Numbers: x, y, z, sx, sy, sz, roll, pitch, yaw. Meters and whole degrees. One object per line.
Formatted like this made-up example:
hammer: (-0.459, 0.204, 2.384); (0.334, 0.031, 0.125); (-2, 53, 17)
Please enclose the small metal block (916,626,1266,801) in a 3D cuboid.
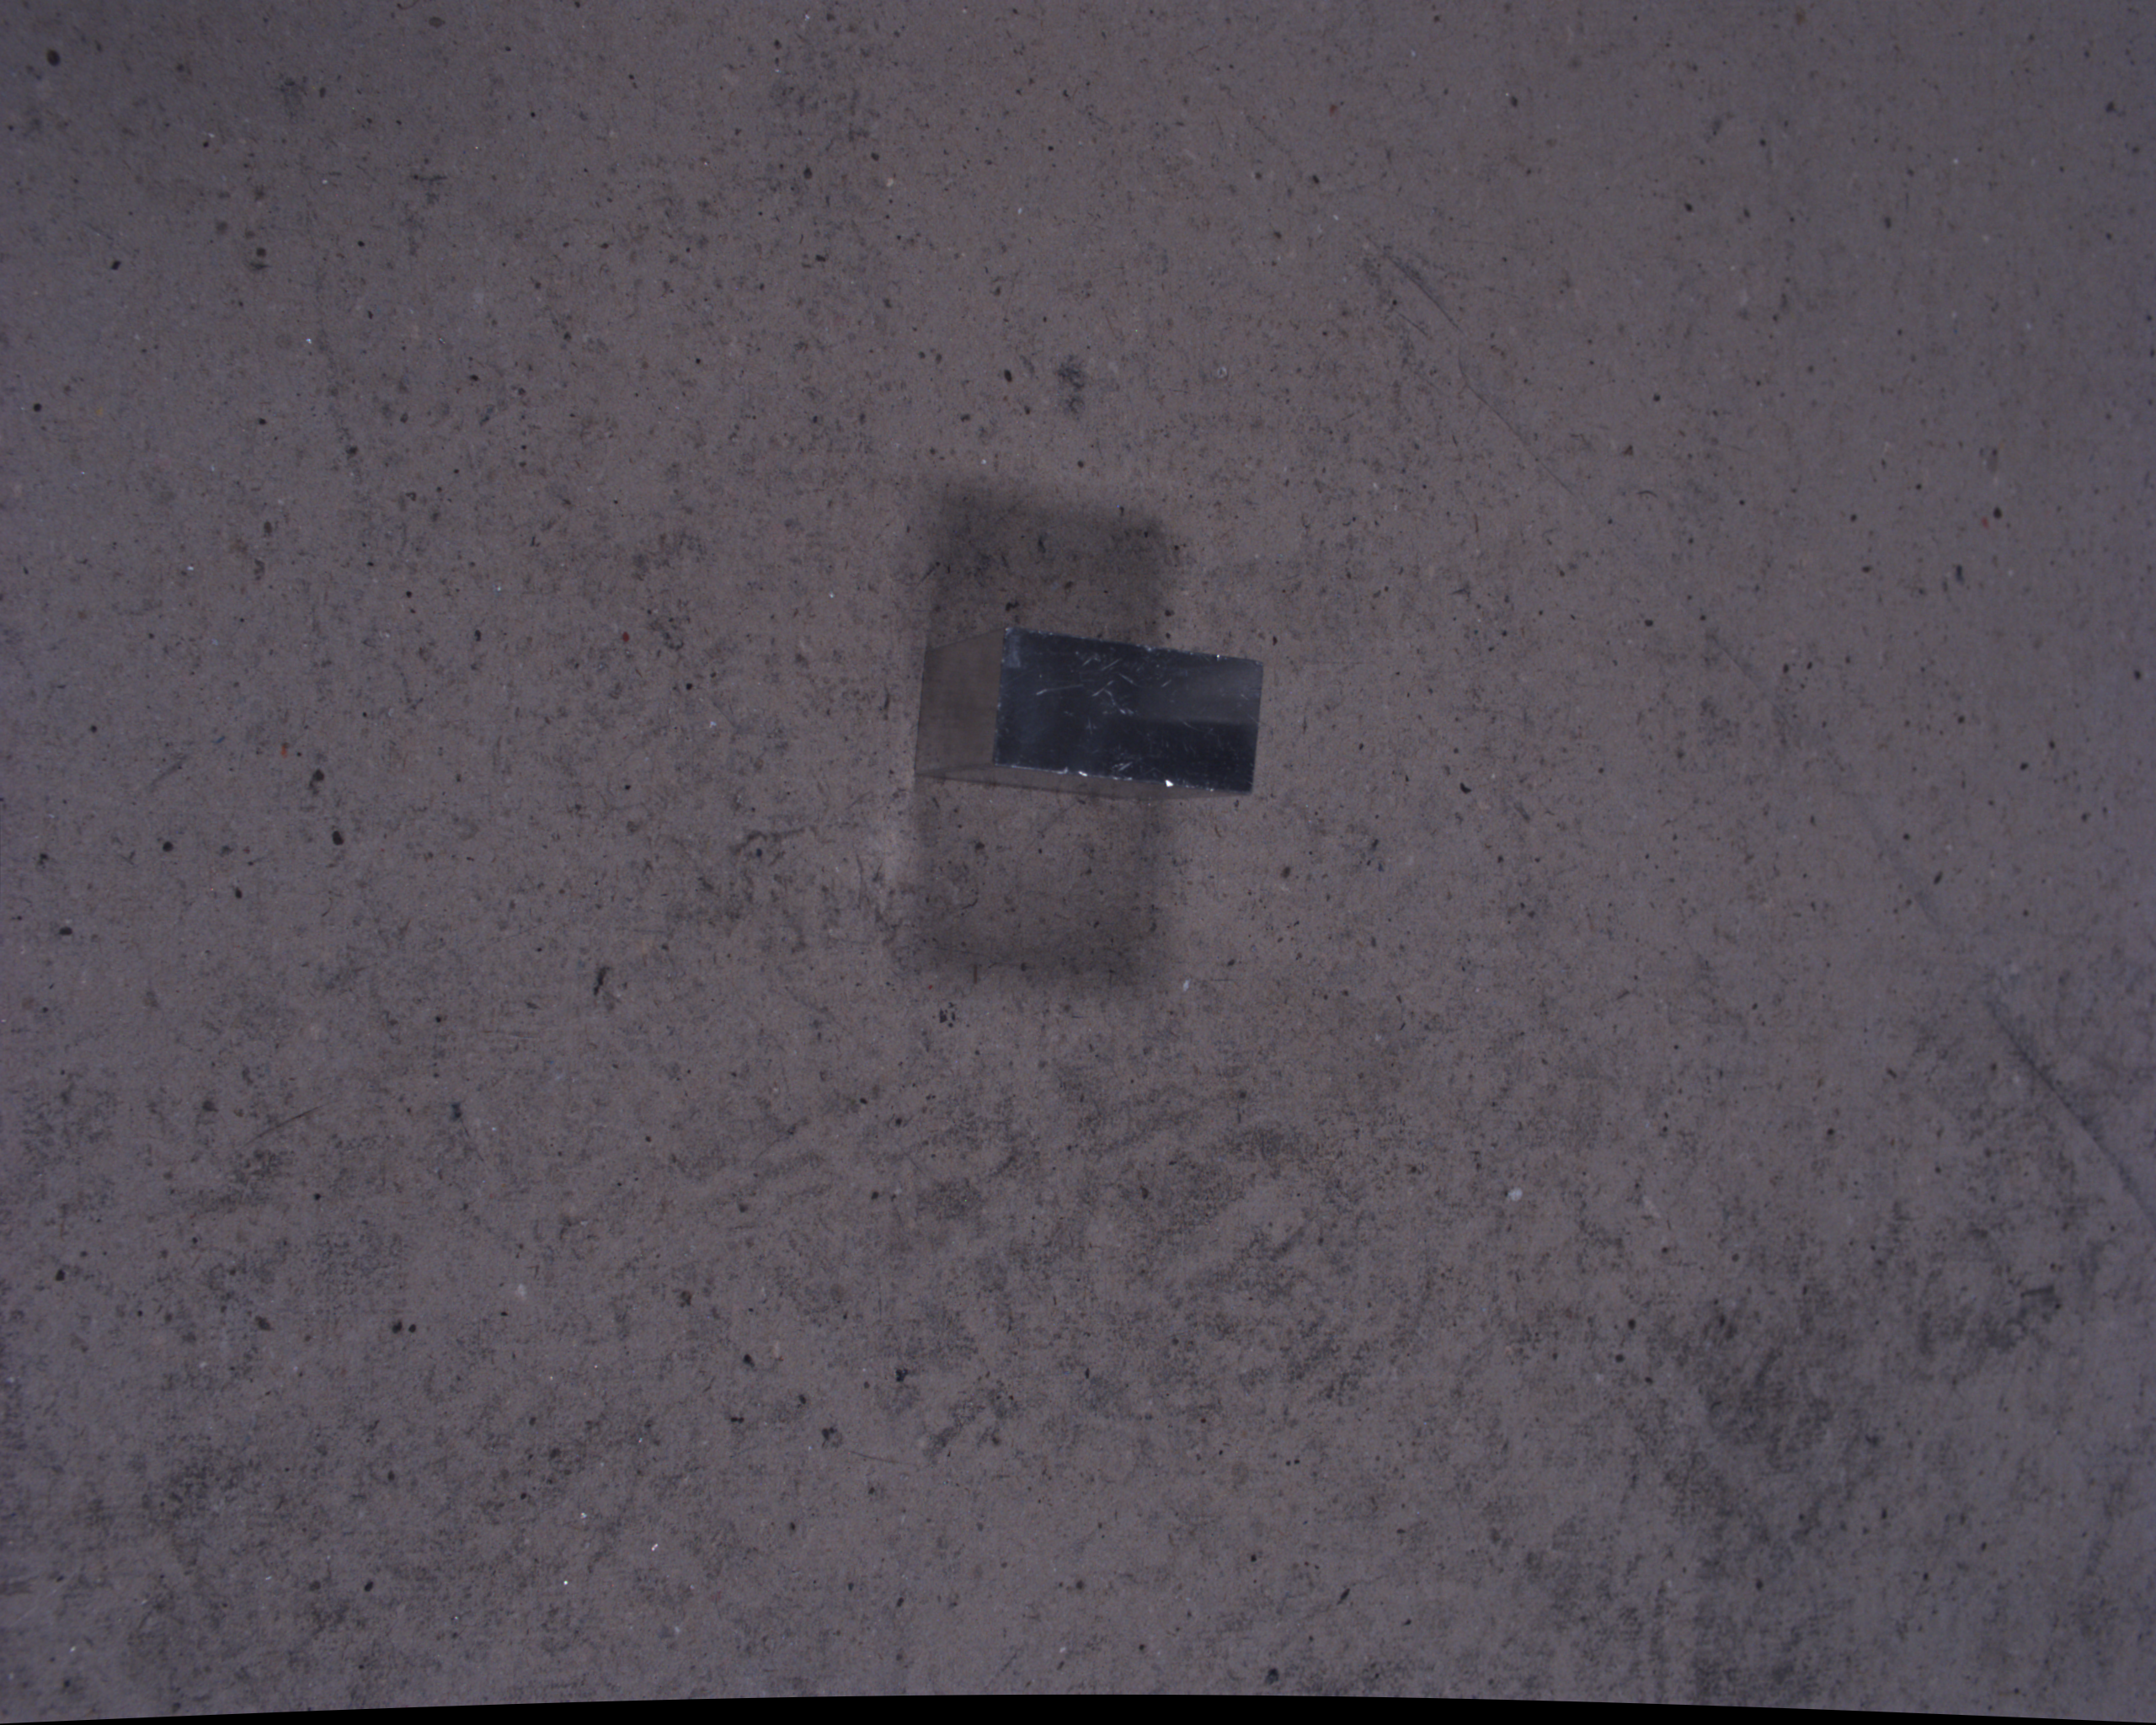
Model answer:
small metal block: (0.001, -0.027, 0.398); (0.050, 0.050, 0.025); (6, 88, -20)
